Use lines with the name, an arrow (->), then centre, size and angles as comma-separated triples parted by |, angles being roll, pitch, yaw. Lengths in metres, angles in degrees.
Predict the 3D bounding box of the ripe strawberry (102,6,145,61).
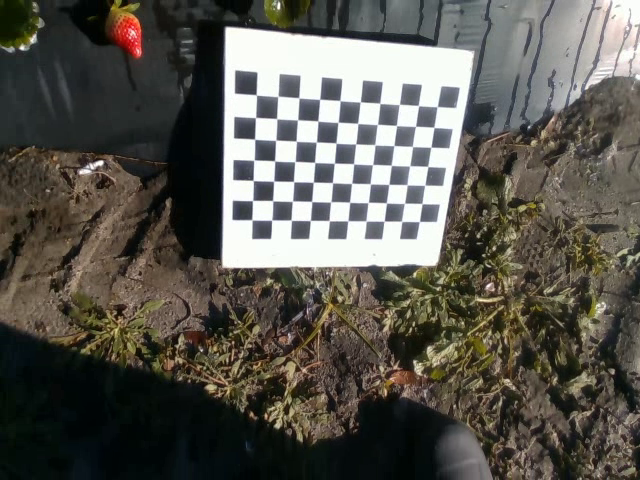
ripe strawberry -> -0.190, -0.203, 0.553 | 0.039, 0.053, 0.040 | -21, 7, -6
